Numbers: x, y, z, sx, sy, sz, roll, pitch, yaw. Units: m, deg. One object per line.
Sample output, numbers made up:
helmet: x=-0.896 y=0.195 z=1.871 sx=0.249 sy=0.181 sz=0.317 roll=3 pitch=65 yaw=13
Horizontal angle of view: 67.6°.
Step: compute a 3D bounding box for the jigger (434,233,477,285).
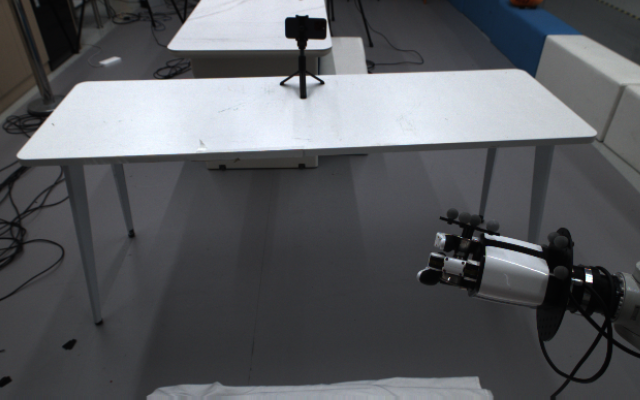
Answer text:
jigger: x=0.203 y=0.086 z=0.701 sx=0.043 sy=0.071 sz=0.043 roll=17 pitch=2 yaw=-1
